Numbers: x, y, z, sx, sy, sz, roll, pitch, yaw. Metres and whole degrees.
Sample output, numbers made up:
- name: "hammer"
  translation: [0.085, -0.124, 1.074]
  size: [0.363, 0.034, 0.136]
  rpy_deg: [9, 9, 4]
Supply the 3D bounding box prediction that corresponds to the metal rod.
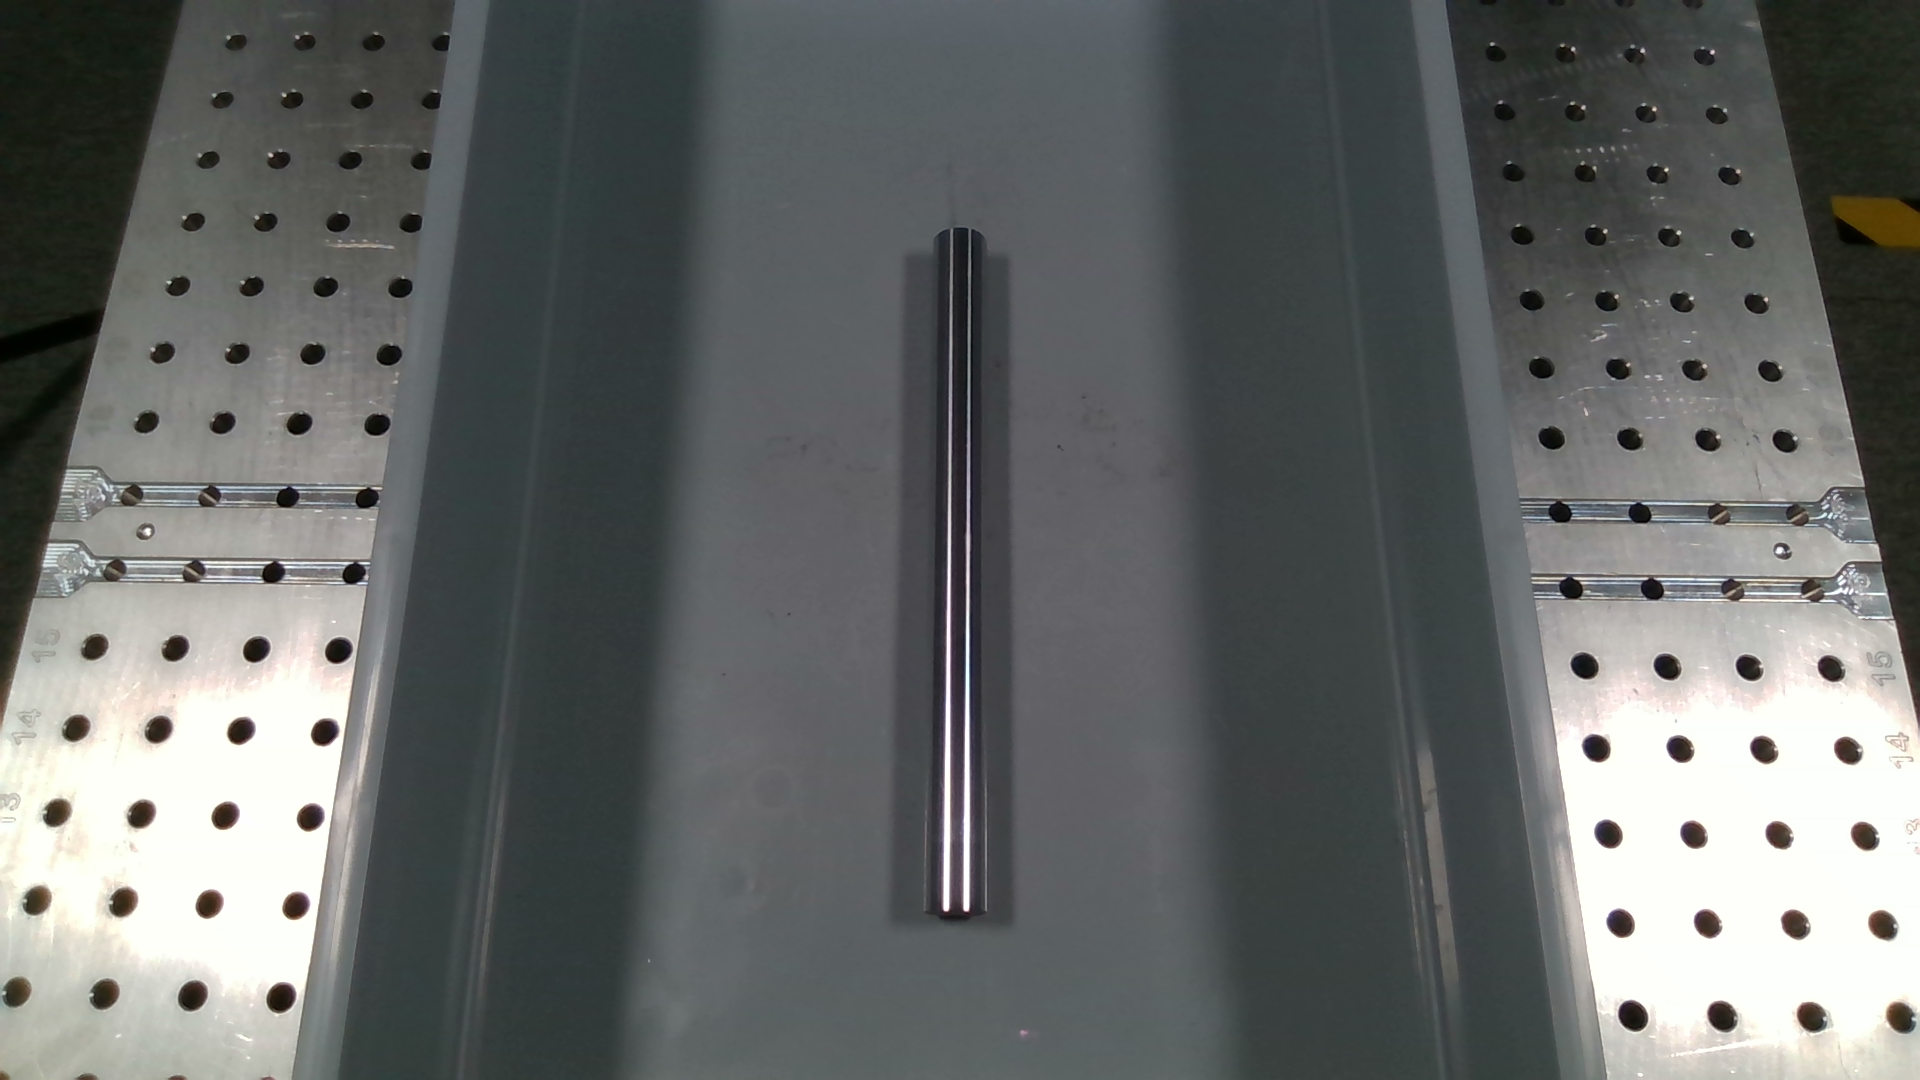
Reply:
- name: "metal rod"
  translation: [-0.001, 0.004, 0.585]
  size: [0.025, 0.025, 0.299]
  rpy_deg: [0, 70, 0]
